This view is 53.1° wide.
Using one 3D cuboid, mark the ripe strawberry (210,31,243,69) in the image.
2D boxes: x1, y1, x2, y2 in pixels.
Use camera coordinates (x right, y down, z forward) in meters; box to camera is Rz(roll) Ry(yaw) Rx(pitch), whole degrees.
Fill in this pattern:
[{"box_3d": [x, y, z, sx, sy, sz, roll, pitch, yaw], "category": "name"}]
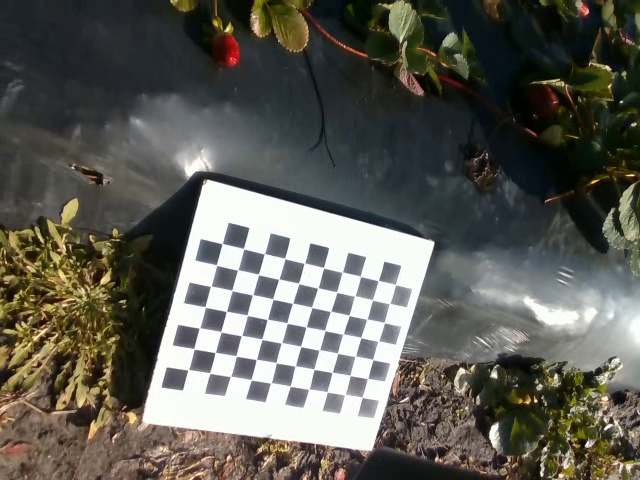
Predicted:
[{"box_3d": [-0.080, -0.163, 0.555, 0.028, 0.031, 0.041, -12, 47, -16], "category": "ripe strawberry"}]
